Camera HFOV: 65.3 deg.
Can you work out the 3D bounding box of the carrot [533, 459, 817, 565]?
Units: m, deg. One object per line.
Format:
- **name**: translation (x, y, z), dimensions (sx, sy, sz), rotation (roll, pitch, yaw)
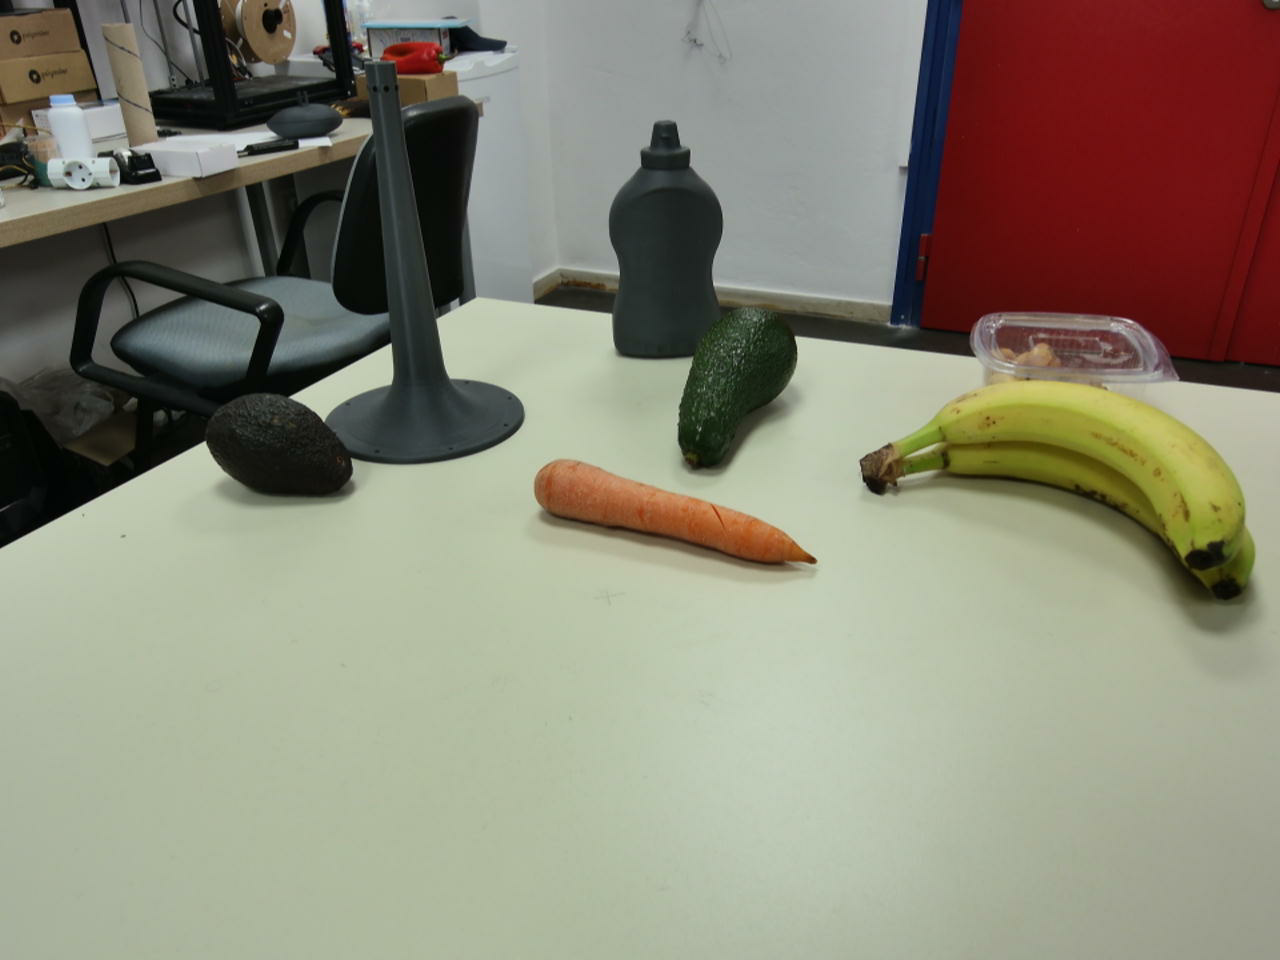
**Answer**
- **carrot**: translation (0.020, 0.020, 0.641), dimensions (0.196, 0.041, 0.039), rotation (11, 28, 22)
